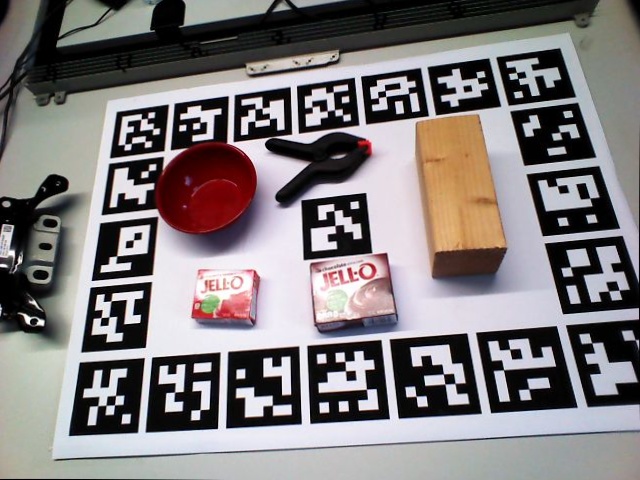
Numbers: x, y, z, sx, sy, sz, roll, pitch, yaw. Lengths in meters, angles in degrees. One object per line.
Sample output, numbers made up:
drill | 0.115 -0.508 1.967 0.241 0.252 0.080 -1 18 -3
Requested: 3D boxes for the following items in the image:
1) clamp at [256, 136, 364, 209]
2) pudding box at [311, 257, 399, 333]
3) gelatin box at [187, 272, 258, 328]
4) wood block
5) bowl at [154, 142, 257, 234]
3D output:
clamp | -0.010 -0.120 0.810 0.165 0.036 0.121 -15 64 1
pudding box | 0.047 0.075 0.703 0.114 0.038 0.089 -7 69 9
gelatin box | -0.138 0.084 0.734 0.090 0.030 0.073 2 68 11
wood block | 0.195 -0.057 0.707 0.090 0.091 0.205 -3 66 7
bowl | -0.170 -0.070 0.804 0.162 0.055 0.161 -3 68 7
